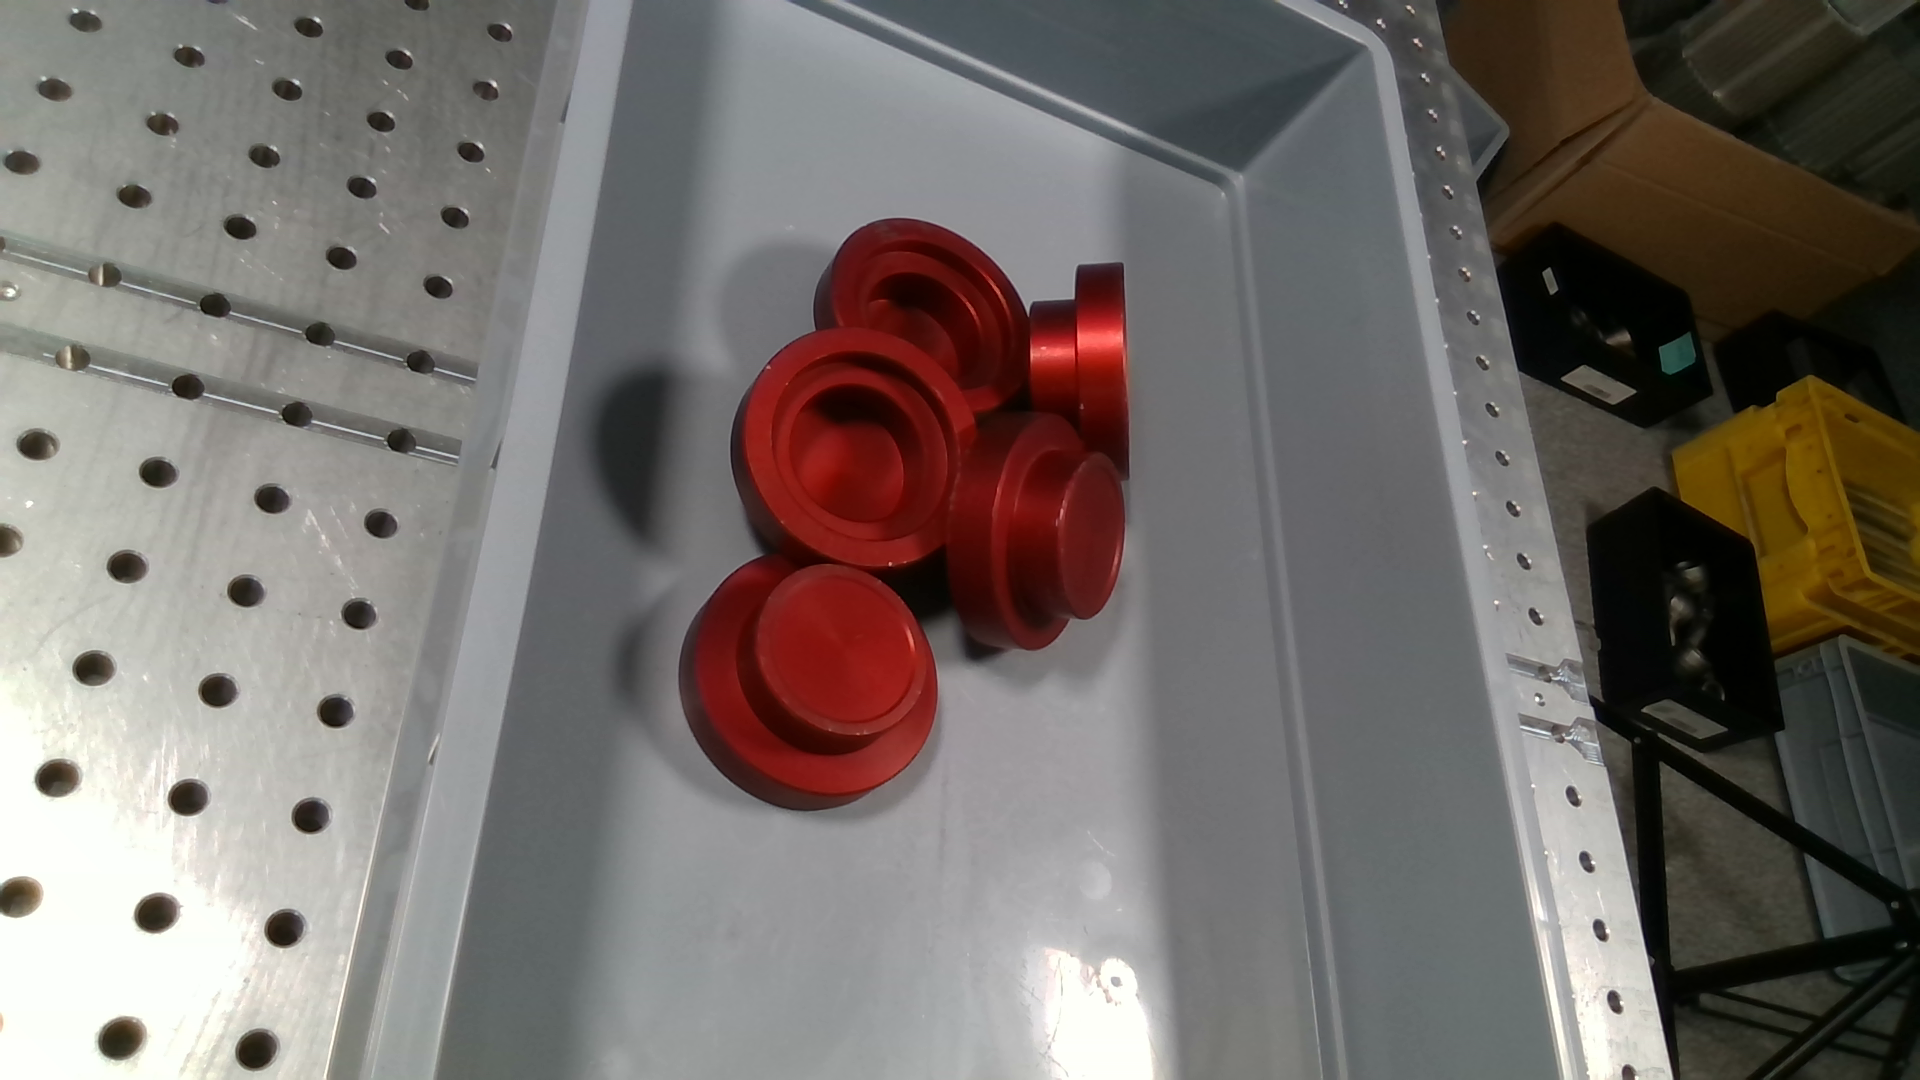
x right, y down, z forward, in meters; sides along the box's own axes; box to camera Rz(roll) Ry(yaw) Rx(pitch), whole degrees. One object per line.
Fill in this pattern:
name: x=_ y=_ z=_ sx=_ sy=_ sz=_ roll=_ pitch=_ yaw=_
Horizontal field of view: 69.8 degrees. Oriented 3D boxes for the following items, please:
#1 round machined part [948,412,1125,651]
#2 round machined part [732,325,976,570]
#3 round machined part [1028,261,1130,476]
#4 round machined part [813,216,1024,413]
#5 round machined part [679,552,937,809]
round machined part: x=0.036 y=-0.003 z=0.562 sx=0.098 sy=0.042 sz=0.098 roll=-18 pitch=110 yaw=-61
round machined part: x=-0.044 y=-0.032 z=0.549 sx=0.098 sy=0.042 sz=0.098 roll=6 pitch=75 yaw=-21
round machined part: x=0.055 y=-0.076 z=0.625 sx=0.042 sy=0.098 sz=0.098 roll=-2 pitch=60 yaw=7
round machined part: x=-0.020 y=-0.091 z=0.609 sx=0.098 sy=0.042 sz=0.098 roll=14 pitch=59 yaw=-25
round machined part: x=-0.052 y=0.047 z=0.516 sx=0.098 sy=0.042 sz=0.098 roll=14 pitch=59 yaw=-25
